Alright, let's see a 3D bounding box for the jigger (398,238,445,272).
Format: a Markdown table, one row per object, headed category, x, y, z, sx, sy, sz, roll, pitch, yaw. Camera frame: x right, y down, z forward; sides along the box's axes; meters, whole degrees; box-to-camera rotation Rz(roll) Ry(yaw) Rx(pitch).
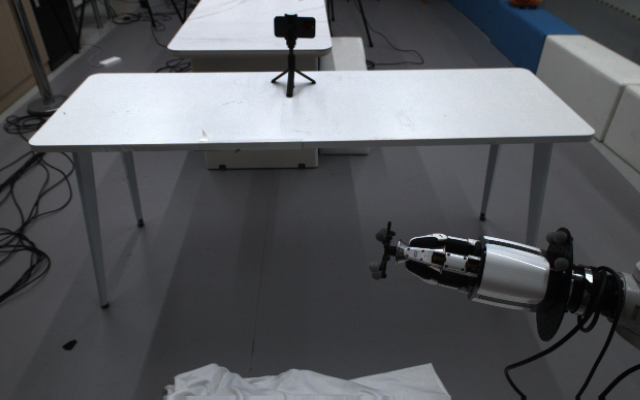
| category | x | y | z | sx | sy | sz | roll | pitch | yaw |
| --- | --- | --- | --- | --- | --- | --- | --- | --- | --- |
| jigger | 0.156 | 0.078 | 0.718 | 0.071 | 0.043 | 0.043 | 8 | 35 | 15 |
